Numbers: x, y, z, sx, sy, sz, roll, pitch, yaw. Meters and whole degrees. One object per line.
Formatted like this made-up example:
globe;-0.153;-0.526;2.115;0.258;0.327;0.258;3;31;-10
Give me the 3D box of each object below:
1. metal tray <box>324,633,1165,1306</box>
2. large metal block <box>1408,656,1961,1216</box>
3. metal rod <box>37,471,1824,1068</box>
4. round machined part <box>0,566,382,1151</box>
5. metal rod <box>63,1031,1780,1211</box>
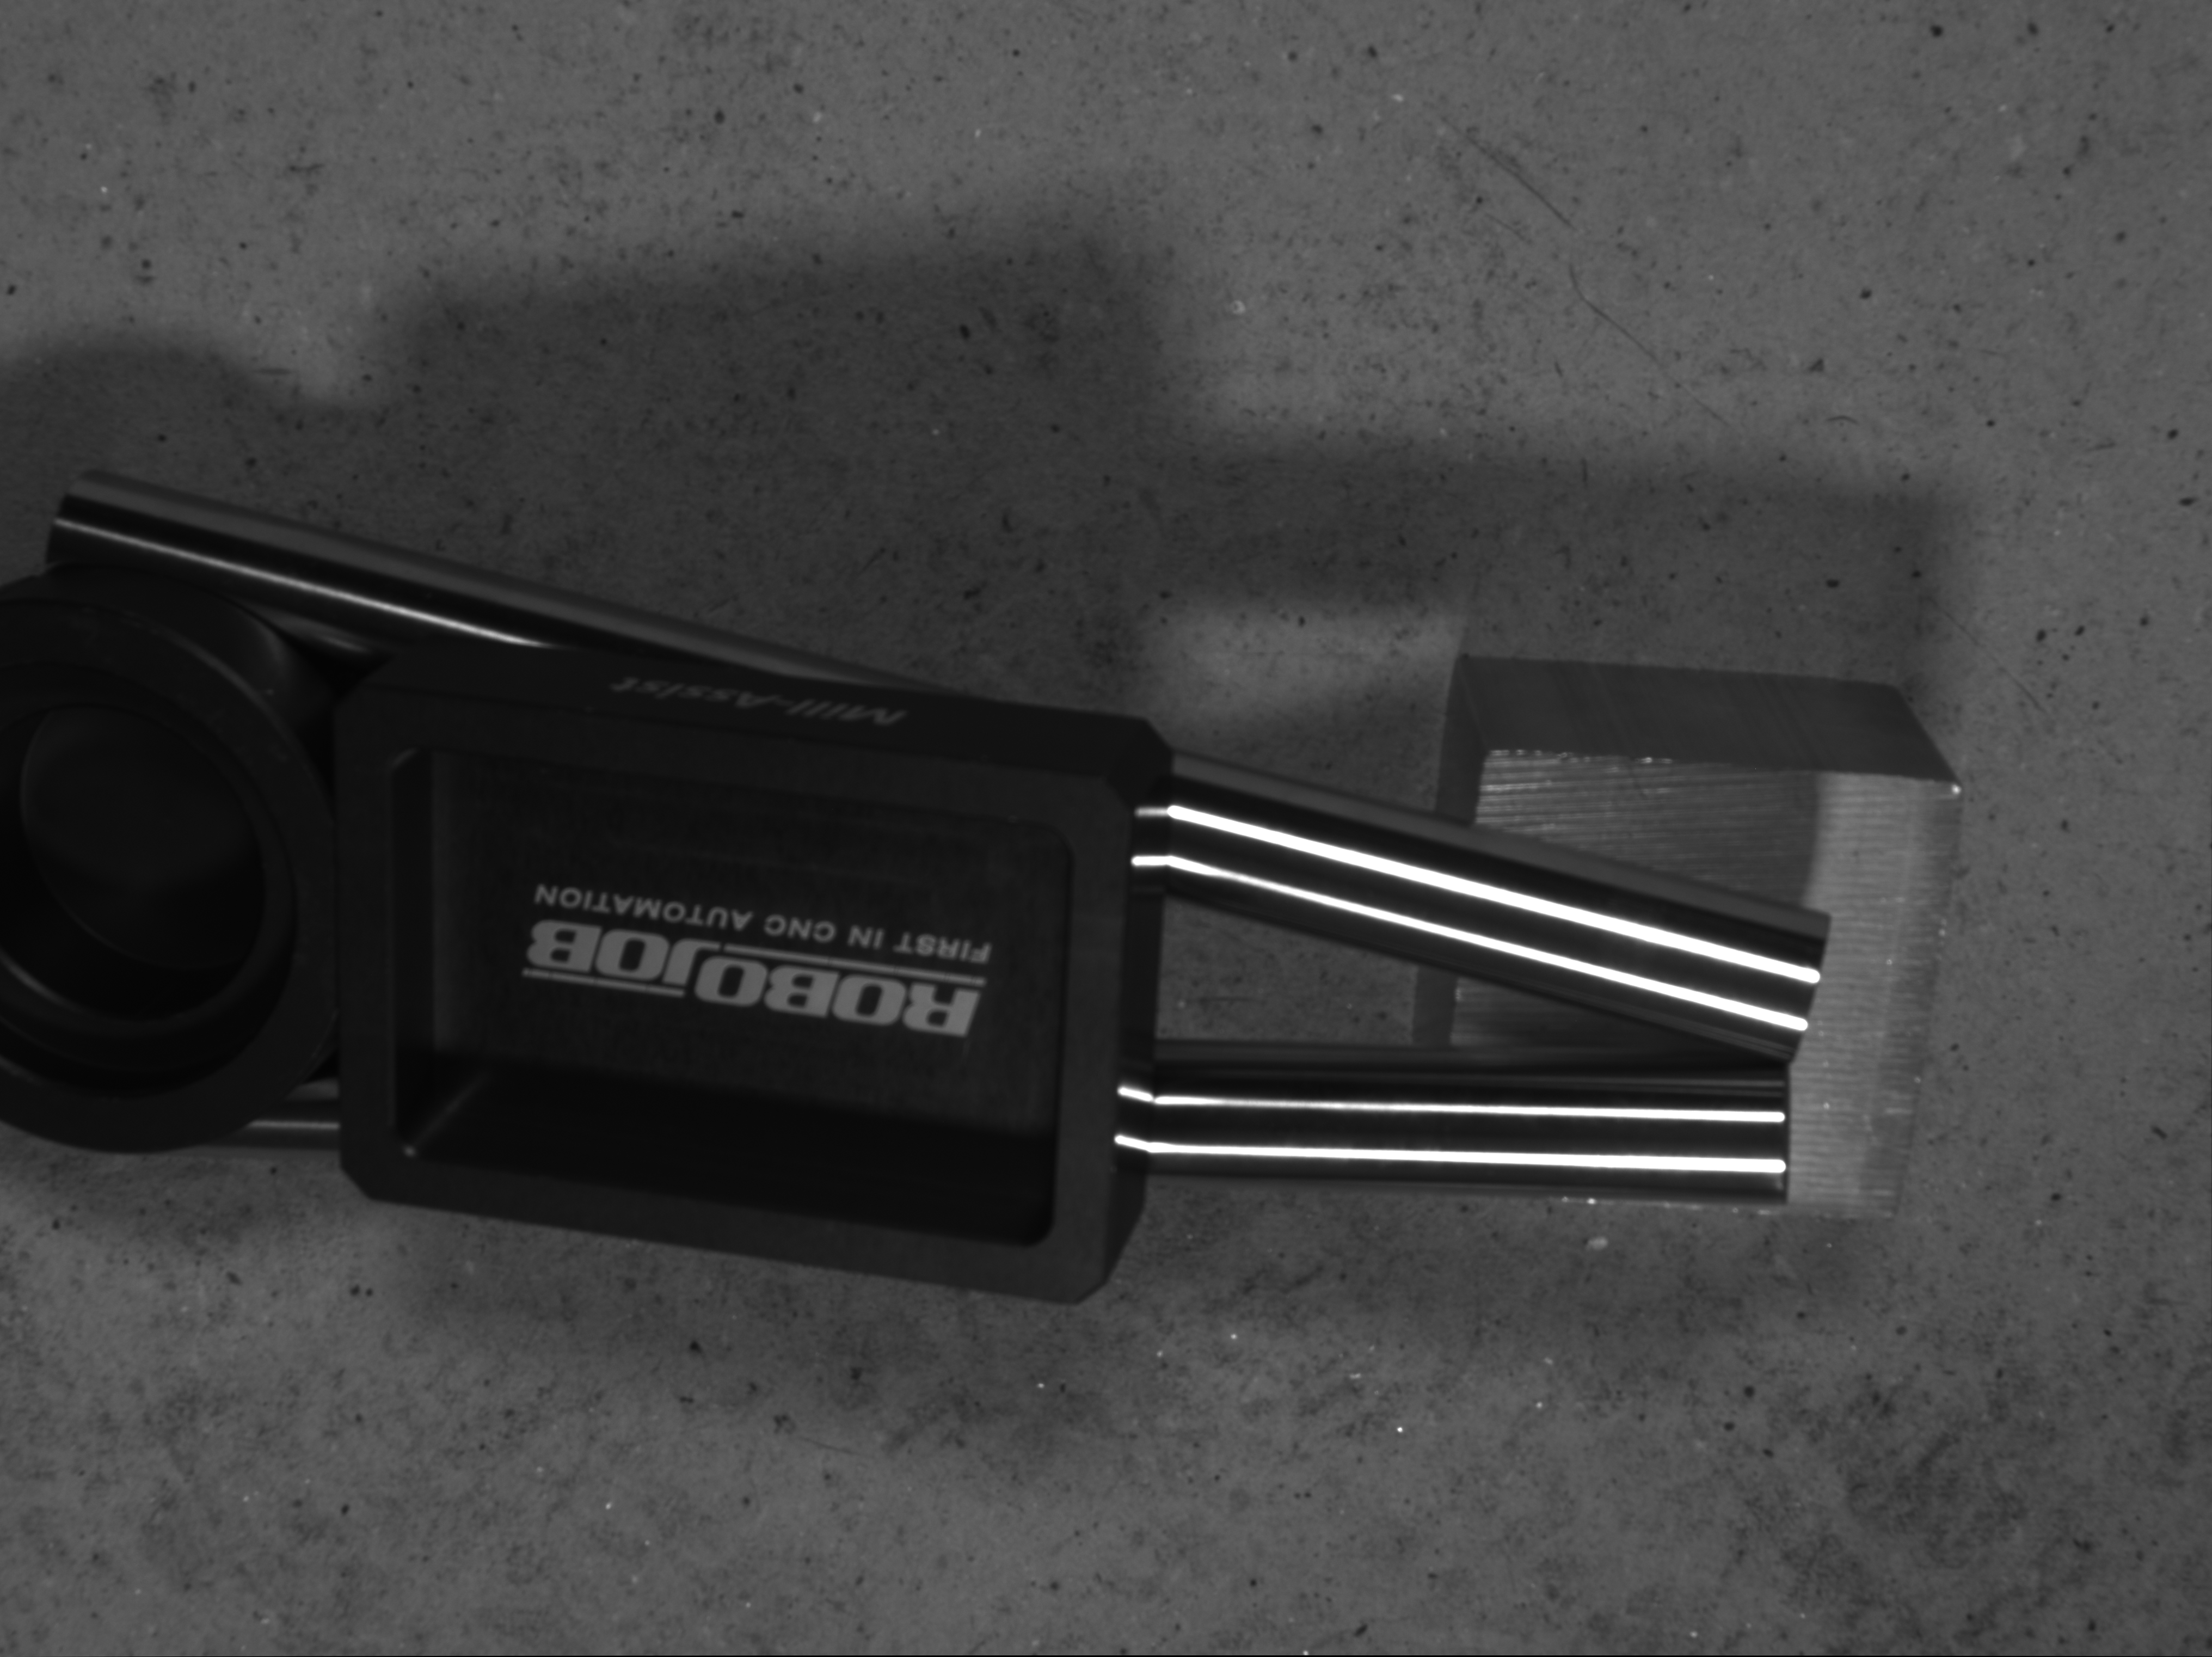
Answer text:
metal tray;-0.059;0.022;0.593;0.130;0.030;0.090;7;110;10
large metal block;0.097;0.018;0.636;0.080;0.050;0.080;4;110;-2
metal rod;-0.032;-0.011;0.604;0.300;0.025;0.025;15;110;8
round machined part;-0.167;0.002;0.627;0.098;0.042;0.098;3;110;9
metal rod;-0.037;0.048;0.626;0.300;0.025;0.025;0;110;13
